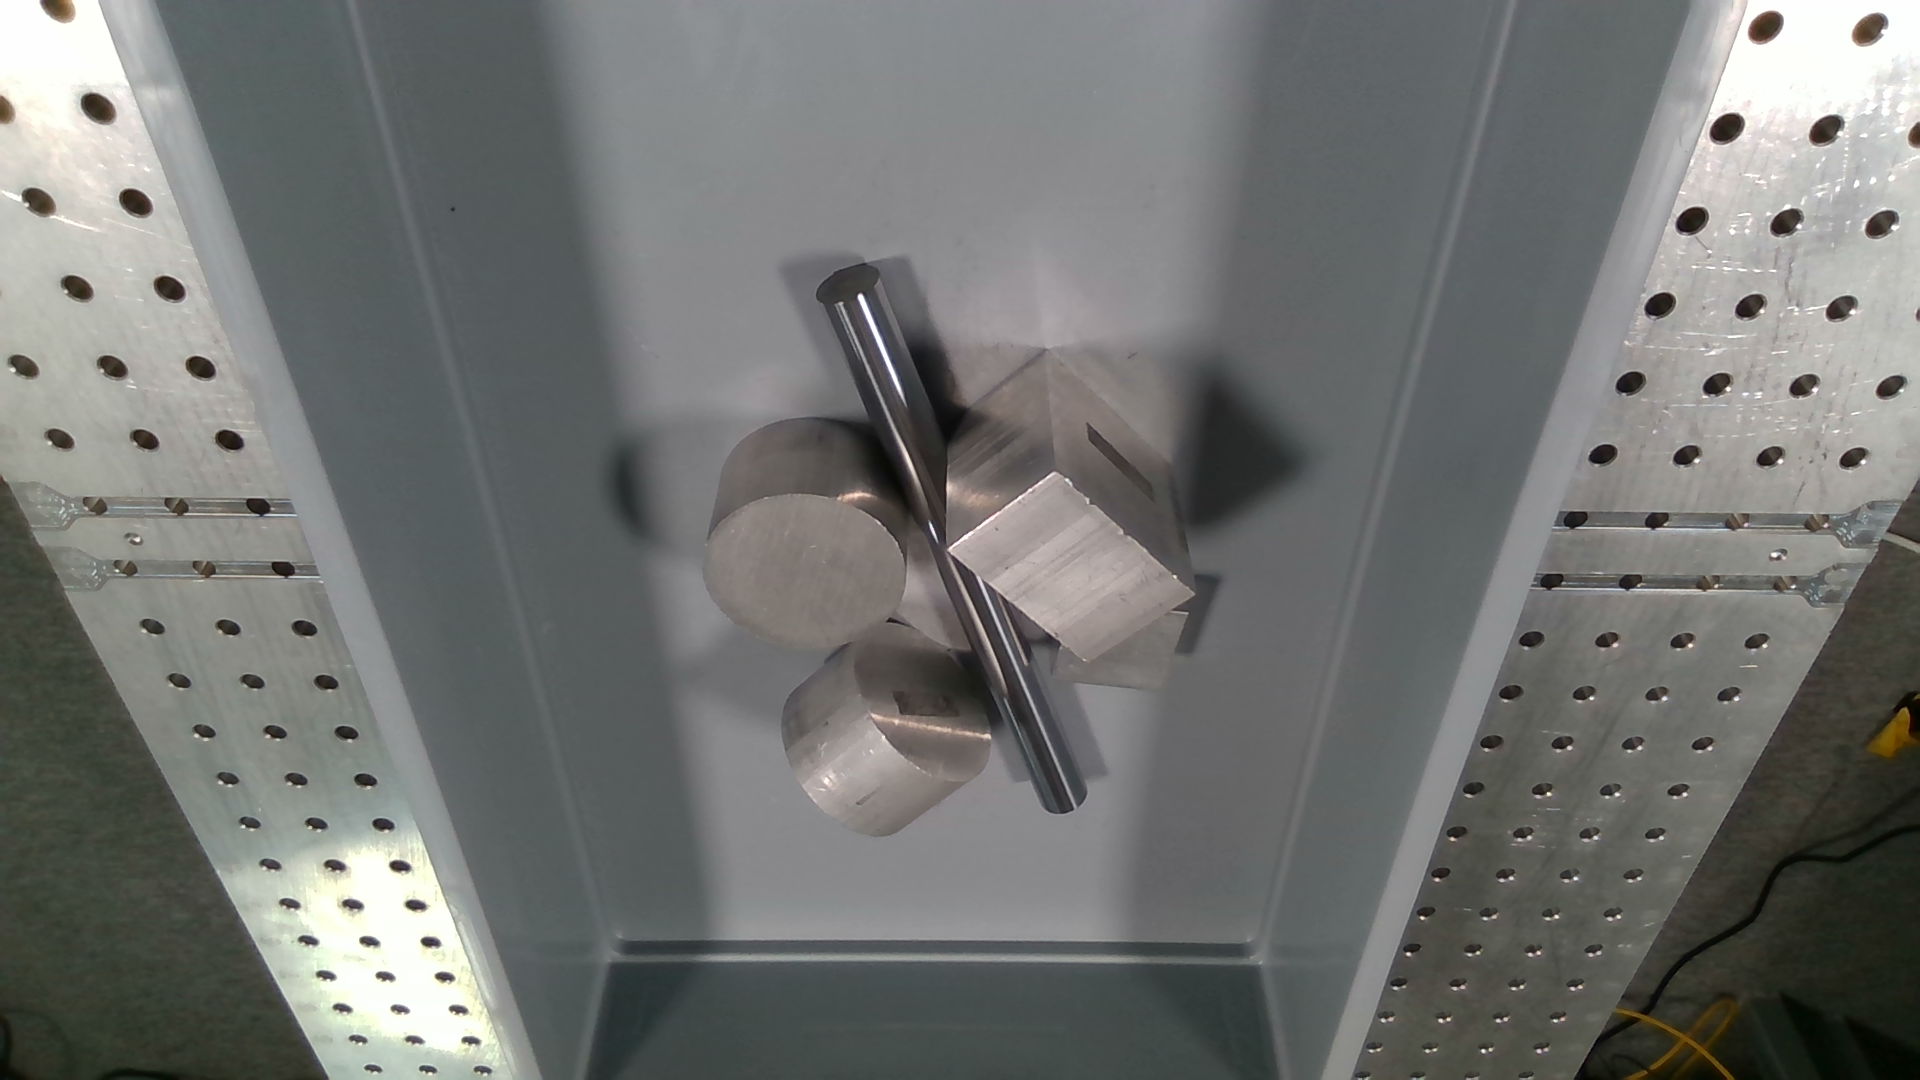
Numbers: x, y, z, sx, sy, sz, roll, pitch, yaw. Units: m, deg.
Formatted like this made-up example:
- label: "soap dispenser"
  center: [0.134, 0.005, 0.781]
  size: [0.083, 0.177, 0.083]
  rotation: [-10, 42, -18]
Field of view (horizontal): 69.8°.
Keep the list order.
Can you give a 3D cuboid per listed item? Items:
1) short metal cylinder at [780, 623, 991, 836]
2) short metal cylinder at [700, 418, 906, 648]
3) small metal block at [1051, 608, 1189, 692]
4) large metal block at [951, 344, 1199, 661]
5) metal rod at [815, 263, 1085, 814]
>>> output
- label: "short metal cylinder"
  center: [-0.033, 0.084, 0.613]
  size: [0.080, 0.080, 0.050]
  rotation: [35, 122, -26]
- label: "short metal cylinder"
  center: [-0.062, -0.002, 0.559]
  size: [0.080, 0.050, 0.080]
  rotation: [0, 130, 0]
- label: "small metal block"
  center: [0.069, 0.039, 0.610]
  size: [0.050, 0.025, 0.050]
  rotation: [7, 130, -6]
- label: "large metal block"
  center: [0.043, -0.015, 0.531]
  size: [0.050, 0.080, 0.080]
  rotation: [-36, 121, 26]
- label: "metal rod"
  center: [0.005, 0.016, 0.592]
  size: [0.025, 0.025, 0.301]
  rotation: [-14, 129, 11]
